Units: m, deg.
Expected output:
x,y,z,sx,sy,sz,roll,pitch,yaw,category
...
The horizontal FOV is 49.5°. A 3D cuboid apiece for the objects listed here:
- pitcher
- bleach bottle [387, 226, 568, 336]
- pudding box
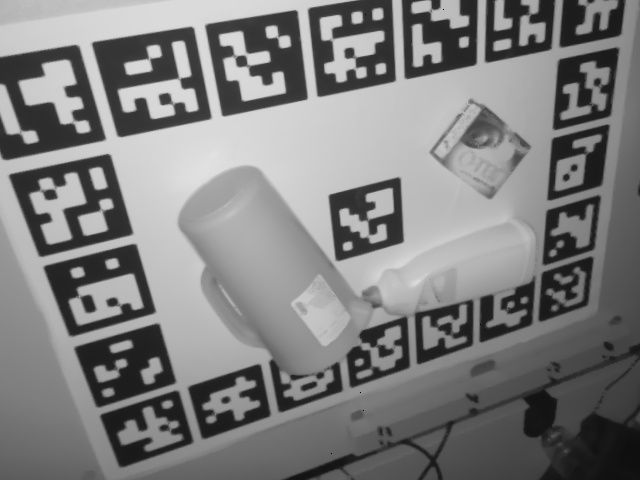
x,y,z,sx,sy,sz,roll,pitch,yaw,category
-0.045,0.043,0.815,0.186,0.135,0.243,-18,121,29,pitcher
0.209,0.065,0.942,0.253,0.068,0.102,-16,115,-11,bleach bottle
0.244,-0.104,0.880,0.115,0.038,0.089,32,107,-29,pudding box
